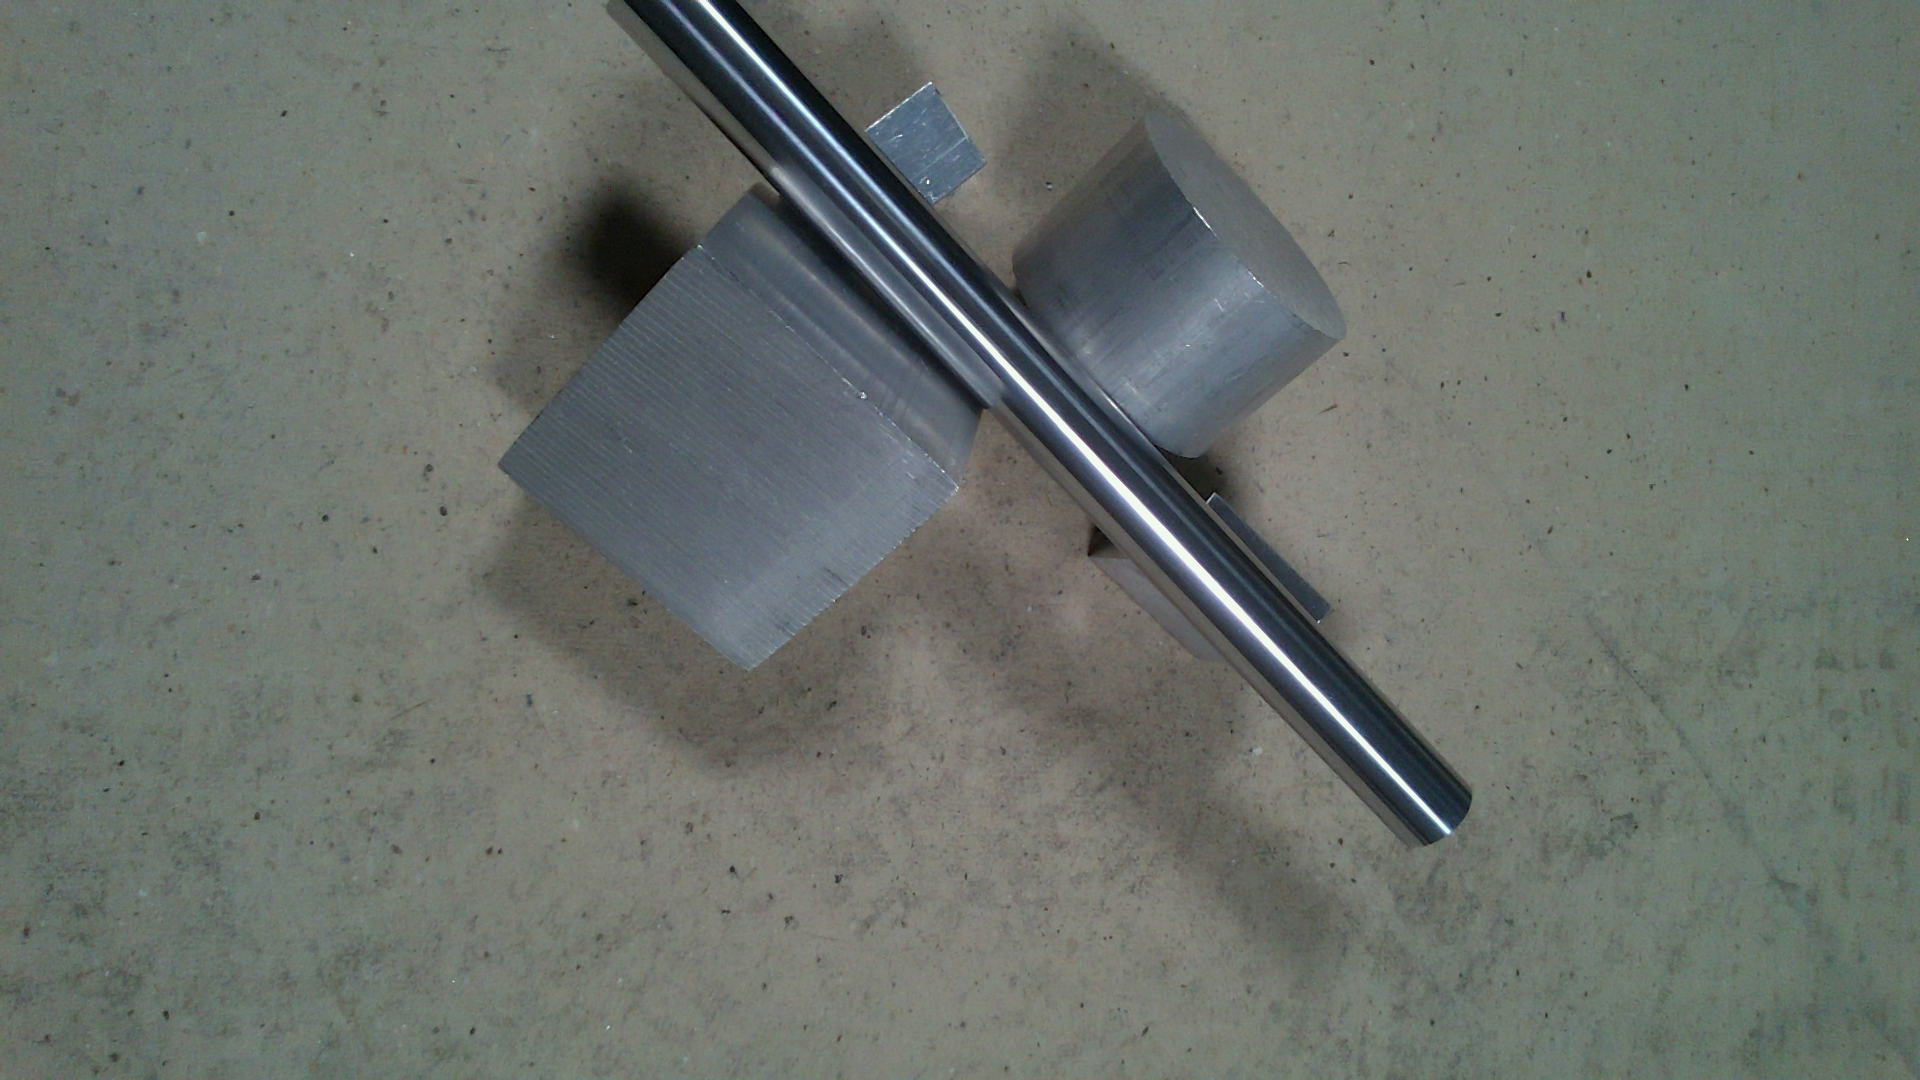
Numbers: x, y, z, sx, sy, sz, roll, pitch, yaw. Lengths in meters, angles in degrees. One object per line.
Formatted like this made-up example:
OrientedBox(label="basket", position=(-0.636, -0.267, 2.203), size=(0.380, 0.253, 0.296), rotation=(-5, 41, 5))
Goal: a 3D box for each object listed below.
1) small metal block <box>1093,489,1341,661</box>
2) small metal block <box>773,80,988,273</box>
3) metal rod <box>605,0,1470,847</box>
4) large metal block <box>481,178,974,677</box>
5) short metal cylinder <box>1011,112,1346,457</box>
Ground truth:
OrientedBox(label="small metal block", position=(0.074, 0.012, 0.404), size=(0.050, 0.050, 0.025), rotation=(43, 77, -15))
OrientedBox(label="small metal block", position=(-0.027, -0.092, 0.371), size=(0.050, 0.050, 0.025), rotation=(-41, 103, -15))
OrientedBox(label="metal rod", position=(0.031, -0.026, 0.352), size=(0.300, 0.025, 0.025), rotation=(45, 76, -14))
OrientedBox(label="large metal block", position=(-0.054, -0.027, 0.342), size=(0.080, 0.050, 0.080), rotation=(42, 117, -15))
OrientedBox(label="short metal cylinder", position=(0.060, -0.070, 0.380), size=(0.080, 0.080, 0.050), rotation=(41, 119, -15))
